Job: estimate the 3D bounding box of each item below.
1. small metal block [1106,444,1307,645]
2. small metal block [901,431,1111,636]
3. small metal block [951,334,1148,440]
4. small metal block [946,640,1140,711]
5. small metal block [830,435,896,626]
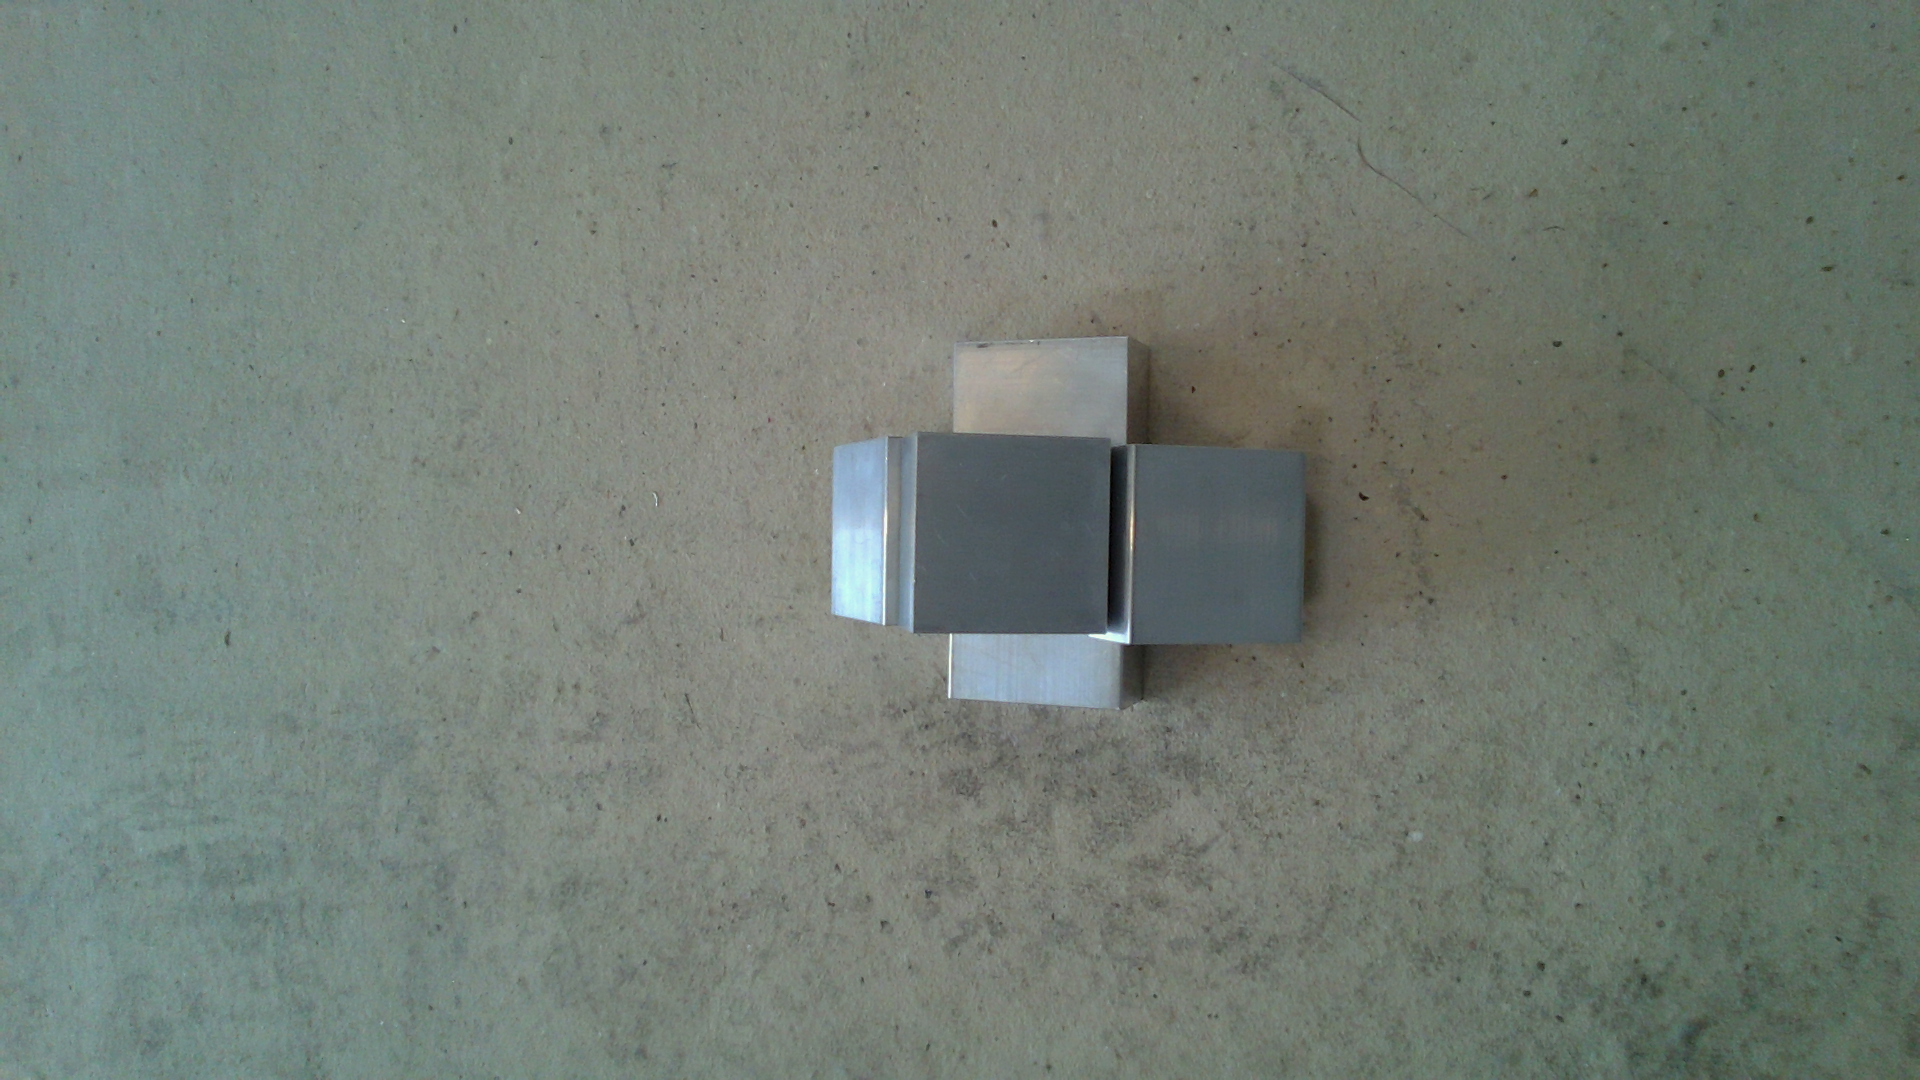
[{"bbox_3d":[0.062,0.001,0.361,0.050,0.025,0.050,1,91,-20],"label":"small metal block"},{"bbox_3d":[0.011,-0.002,0.354,0.050,0.025,0.050,1,91,-11],"label":"small metal block"},{"bbox_3d":[0.025,-0.030,0.387,0.050,0.025,0.050,1,90,20],"label":"small metal block"},{"bbox_3d":[0.024,0.020,0.387,0.050,0.025,0.050,1,90,20],"label":"small metal block"},{"bbox_3d":[-0.017,-0.003,0.388,0.025,0.050,0.050,0,91,-22],"label":"small metal block"}]
